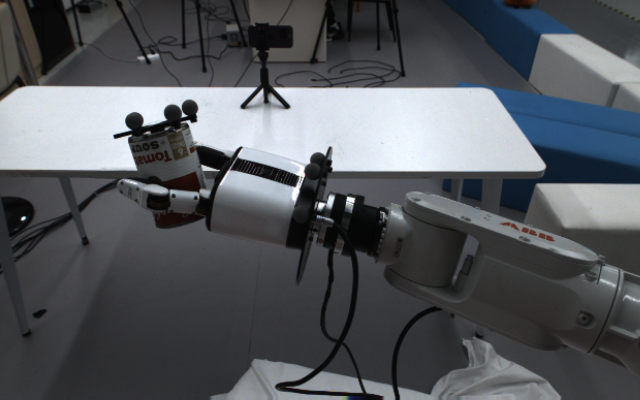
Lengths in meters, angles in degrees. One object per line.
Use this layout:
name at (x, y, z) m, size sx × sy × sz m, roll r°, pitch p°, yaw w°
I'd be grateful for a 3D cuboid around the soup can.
soup can at (-0.162, -0.027, 0.539) m, size 0.067 × 0.101 × 0.067 m, roll -12°, pitch 17°, yaw 4°
